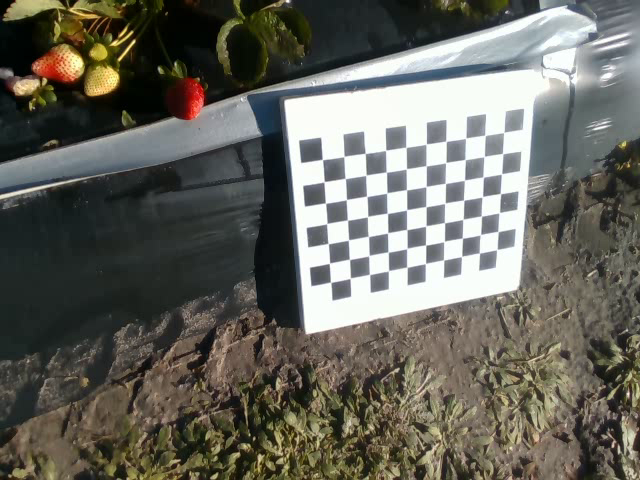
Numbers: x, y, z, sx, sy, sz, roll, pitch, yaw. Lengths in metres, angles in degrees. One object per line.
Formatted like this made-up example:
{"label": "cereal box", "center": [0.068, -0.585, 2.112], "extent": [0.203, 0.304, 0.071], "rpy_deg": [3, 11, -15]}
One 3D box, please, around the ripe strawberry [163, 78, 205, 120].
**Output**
{"label": "ripe strawberry", "center": [-0.105, -0.105, 0.452], "extent": [0.036, 0.038, 0.046], "rpy_deg": [-11, 38, -10]}
